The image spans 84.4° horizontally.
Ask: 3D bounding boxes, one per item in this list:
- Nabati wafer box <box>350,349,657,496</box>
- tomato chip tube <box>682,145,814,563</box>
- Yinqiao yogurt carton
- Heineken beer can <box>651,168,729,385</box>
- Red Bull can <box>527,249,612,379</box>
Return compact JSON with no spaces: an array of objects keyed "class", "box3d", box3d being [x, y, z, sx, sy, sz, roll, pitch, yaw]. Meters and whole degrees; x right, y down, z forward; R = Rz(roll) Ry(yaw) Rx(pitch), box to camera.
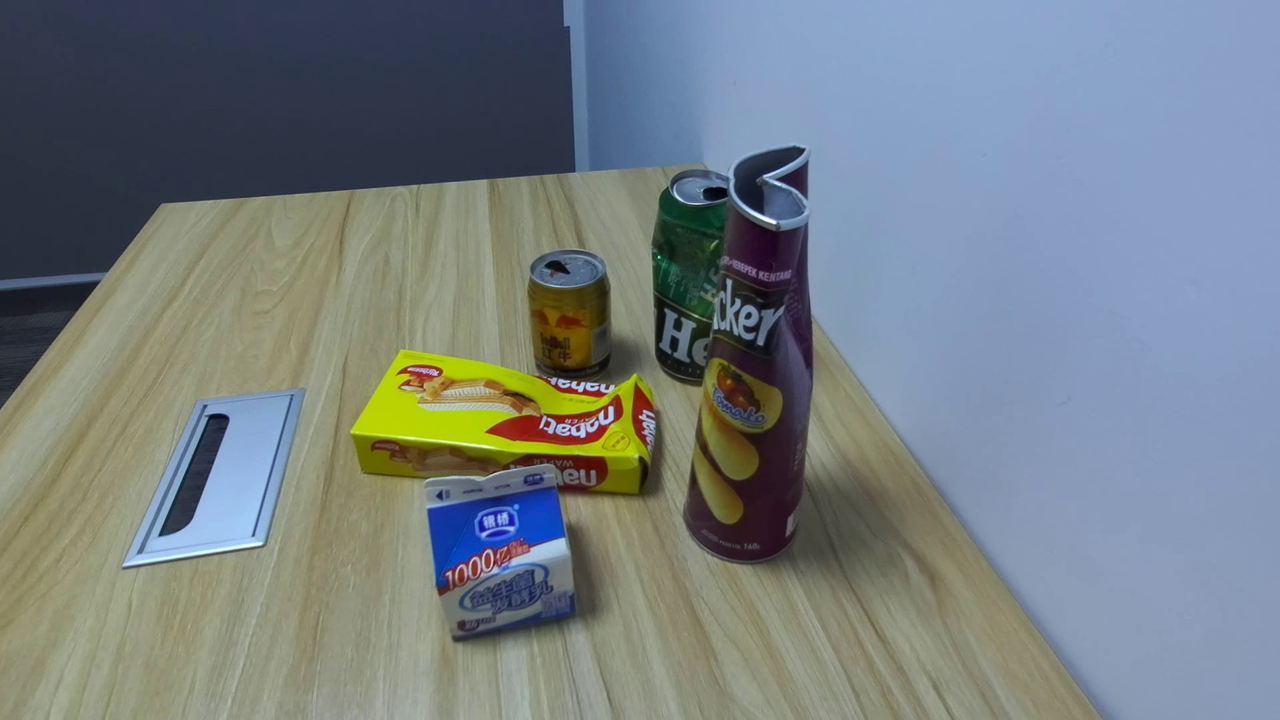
[{"class":"Nabati wafer box","box3d":[-0.090,0.042,0.519,0.204,0.042,0.107,5,39,5]},{"class":"tomato chip tube","box3d":[0.069,0.010,0.395,0.078,0.235,0.076,-19,41,-24]},{"class":"Yinqiao yogurt carton","box3d":[-0.079,0.096,0.405,0.076,0.092,0.073,-8,37,-12]},{"class":"Heineken beer can","box3d":[0.046,-0.060,0.525,0.066,0.164,0.077,-2,36,-3]},{"class":"Red Bull can","box3d":[-0.057,-0.035,0.577,0.067,0.093,0.067,0,37,0]}]
